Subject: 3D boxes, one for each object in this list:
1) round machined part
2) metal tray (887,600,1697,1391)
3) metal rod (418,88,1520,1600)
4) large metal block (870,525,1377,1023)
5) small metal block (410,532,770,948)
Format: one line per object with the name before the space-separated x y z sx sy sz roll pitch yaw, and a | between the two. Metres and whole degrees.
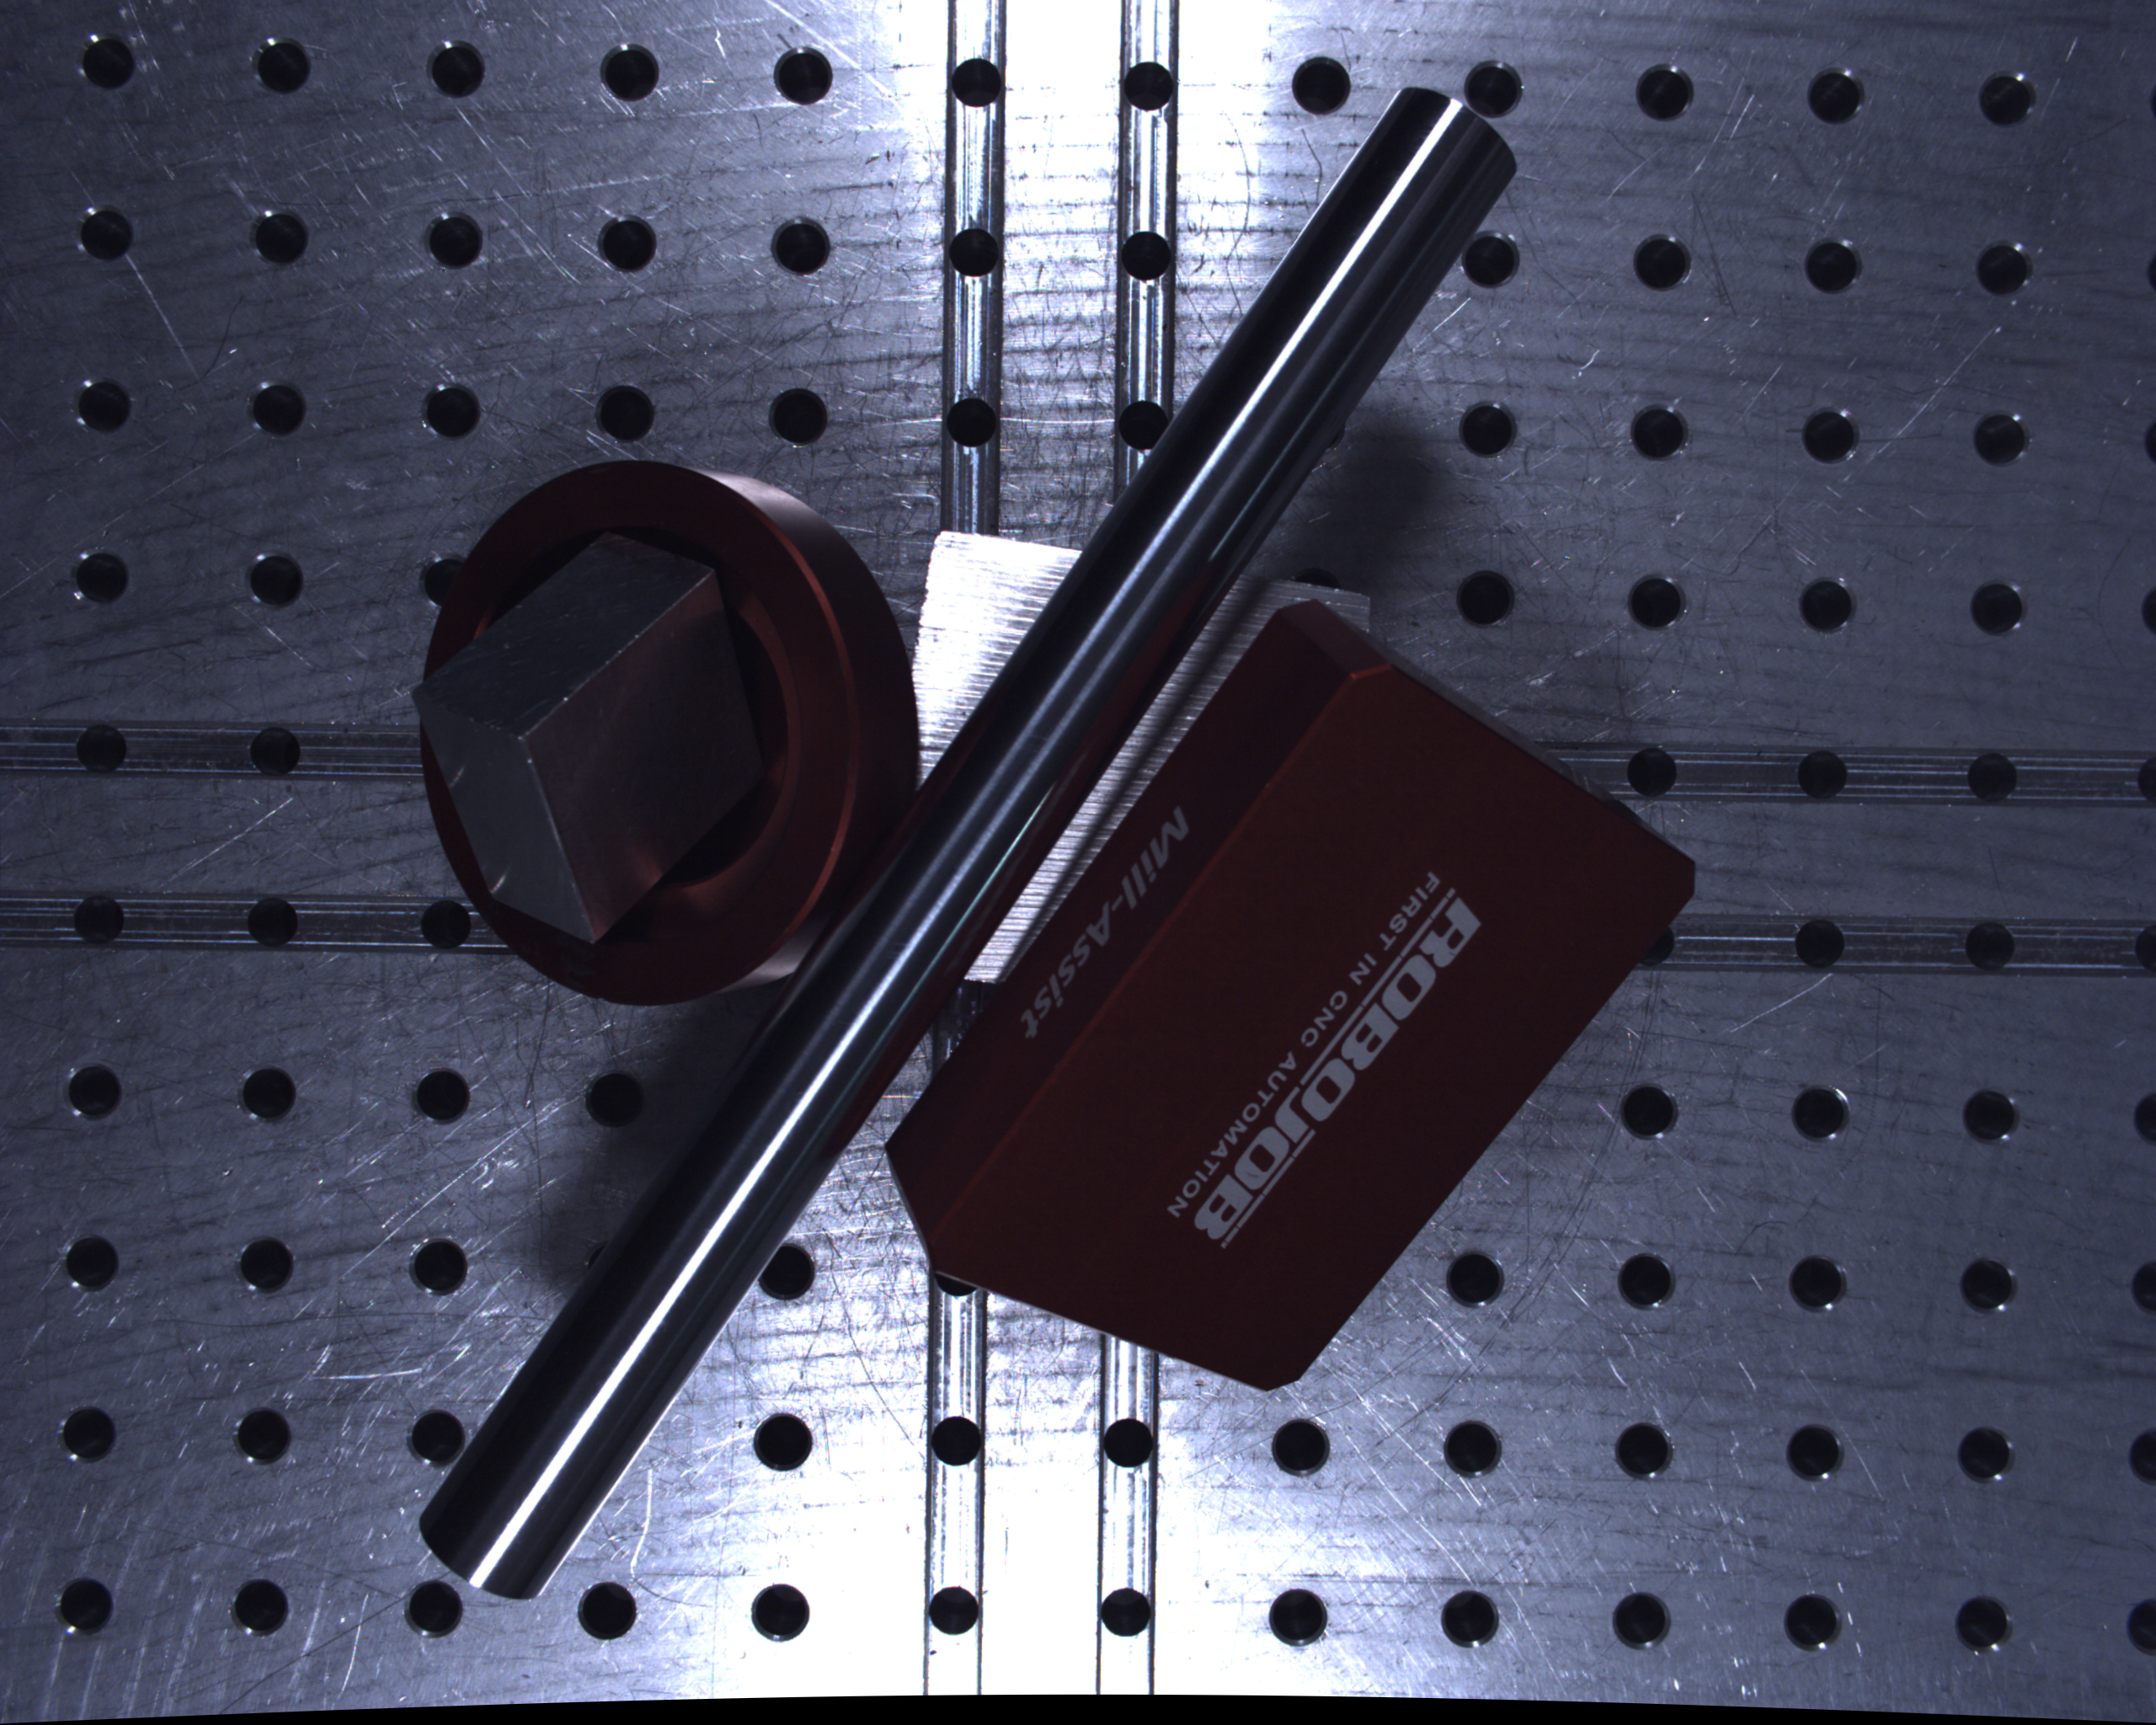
round machined part | -0.072 -0.024 0.391 0.098 0.042 0.097 1 93 25
metal tray | 0.038 0.029 0.378 0.090 0.030 0.129 28 105 -32
metal rod | -0.018 -0.004 0.363 0.025 0.025 0.299 35 90 -1
large metal block | 0.008 -0.015 0.401 0.081 0.050 0.080 9 90 -1
small metal block | -0.085 -0.022 0.372 0.025 0.050 0.050 22 51 25
